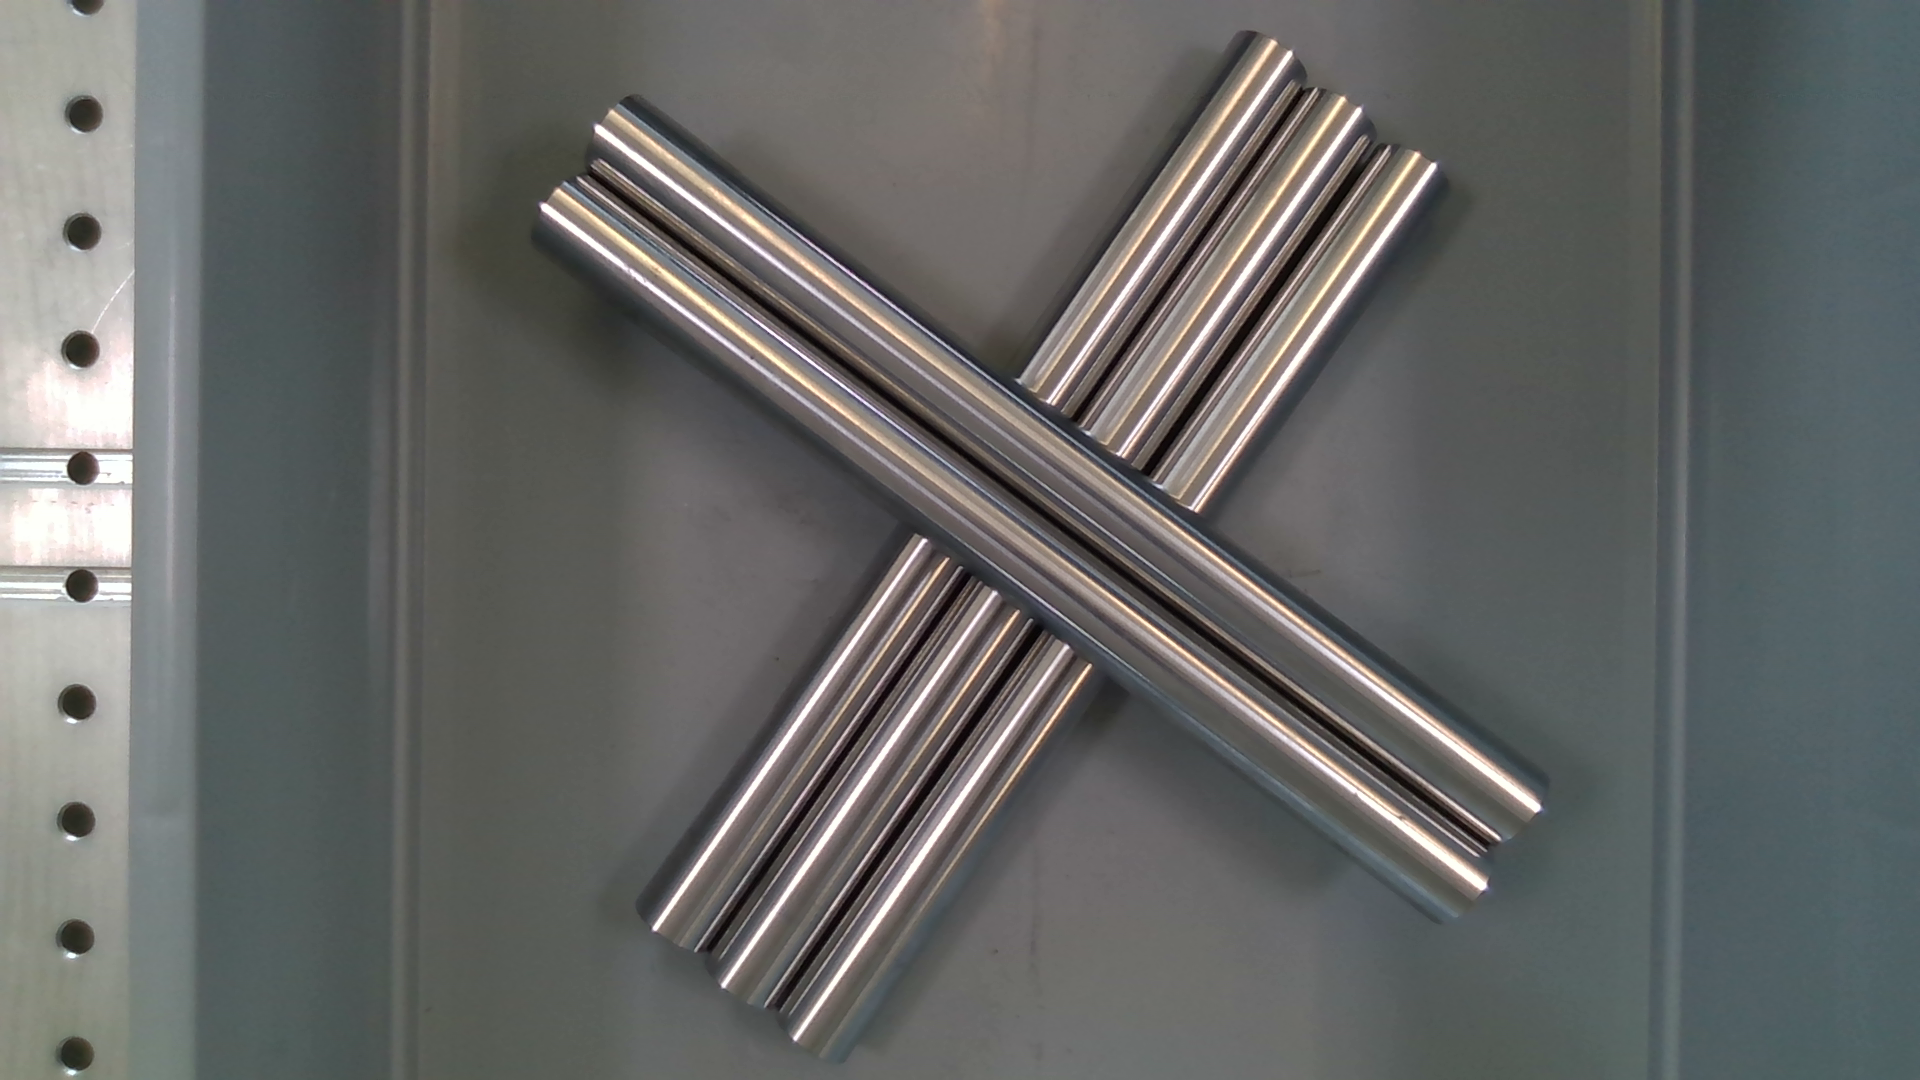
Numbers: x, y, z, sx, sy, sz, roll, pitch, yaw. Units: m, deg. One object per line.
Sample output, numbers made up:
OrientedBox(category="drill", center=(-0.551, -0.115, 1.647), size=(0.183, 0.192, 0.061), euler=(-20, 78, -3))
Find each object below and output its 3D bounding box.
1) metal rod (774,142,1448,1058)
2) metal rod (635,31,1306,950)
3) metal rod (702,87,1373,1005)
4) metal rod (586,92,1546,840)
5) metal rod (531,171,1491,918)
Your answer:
OrientedBox(category="metal rod", center=(0.043, 0.017, 0.394), size=(0.025, 0.025, 0.300), euler=(35, 90, 0))
OrientedBox(category="metal rod", center=(0.003, -0.014, 0.394), size=(0.025, 0.025, 0.300), euler=(35, 90, 0))
OrientedBox(category="metal rod", center=(0.022, 0.002, 0.394), size=(0.025, 0.025, 0.300), euler=(35, 90, 0))
OrientedBox(category="metal rod", center=(0.028, -0.019, 0.369), size=(0.300, 0.025, 0.025), euler=(37, 90, 0))
OrientedBox(category="metal rod", center=(0.014, 0.001, 0.369), size=(0.300, 0.025, 0.025), euler=(37, 90, 0))
